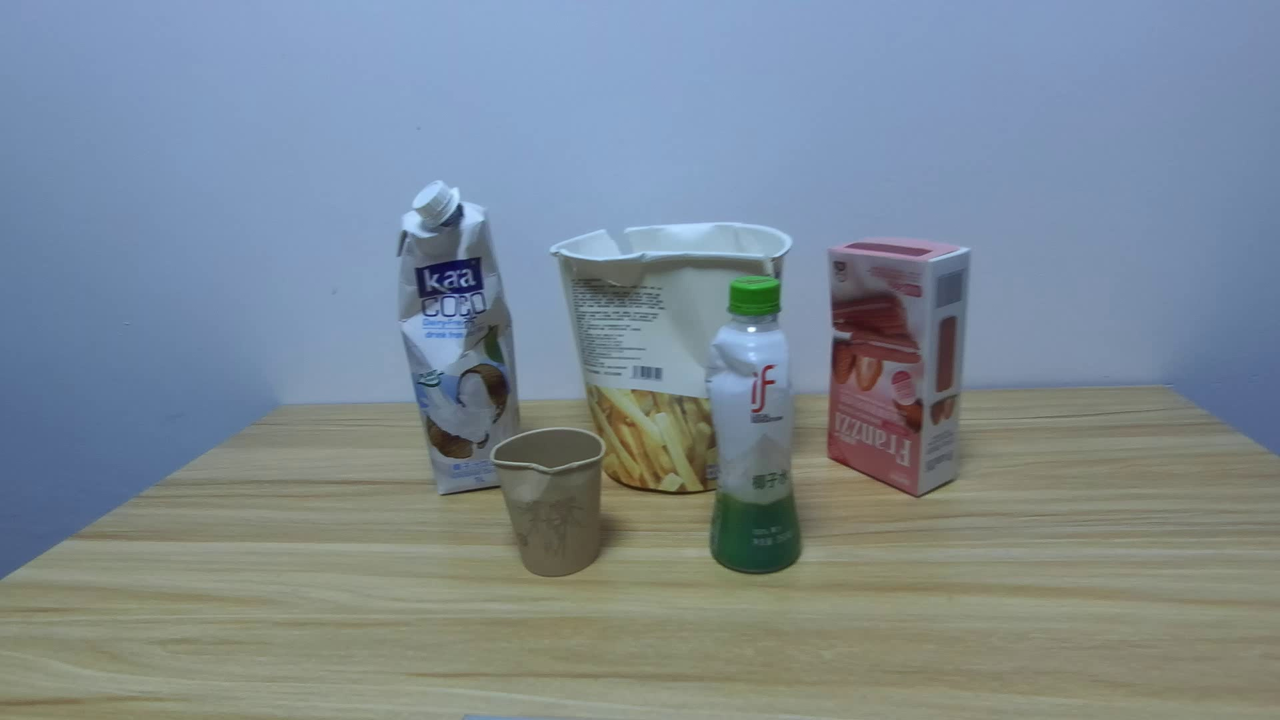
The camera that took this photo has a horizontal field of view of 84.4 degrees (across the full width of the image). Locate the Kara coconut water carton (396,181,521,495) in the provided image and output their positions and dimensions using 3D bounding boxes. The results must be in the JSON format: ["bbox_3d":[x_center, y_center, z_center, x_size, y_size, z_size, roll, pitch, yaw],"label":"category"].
[{"bbox_3d":[-0.150,-0.018,0.584,0.083,0.255,0.078,-2,20,5],"label":"Kara coconut water carton"}]

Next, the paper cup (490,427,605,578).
[{"bbox_3d":[-0.059,0.097,0.484,0.074,0.081,0.068,-13,20,-28],"label":"paper cup"}]

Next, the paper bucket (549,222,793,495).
[{"bbox_3d":[0.029,-0.009,0.601,0.202,0.197,0.146,2,19,18],"label":"paper bucket"}]

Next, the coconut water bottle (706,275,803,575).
[{"bbox_3d":[0.074,0.041,0.453,0.069,0.186,0.069,-3,19,1],"label":"coconut water bottle"}]

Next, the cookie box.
[{"bbox_3d":[0.194,0.001,0.553,0.049,0.187,0.104,-15,20,-29],"label":"cookie box"}]
